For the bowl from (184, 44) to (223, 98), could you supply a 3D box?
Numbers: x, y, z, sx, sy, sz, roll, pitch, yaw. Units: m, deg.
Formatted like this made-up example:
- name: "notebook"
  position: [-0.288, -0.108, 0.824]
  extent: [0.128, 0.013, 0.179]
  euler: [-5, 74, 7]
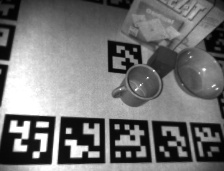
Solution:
- name: "bowl"
  position: [0.255, -0.033, 0.607]
  extent: [0.163, 0.055, 0.161]
  euler: [6, 68, -15]

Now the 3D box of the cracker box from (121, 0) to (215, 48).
- name: "cracker box"
  position: [0.137, -0.193, 0.560]
  extent: [0.164, 0.213, 0.072]
  euler: [32, 61, -2]

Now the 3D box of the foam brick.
- name: "foam brick"
  position: [0.135, -0.072, 0.589]
  extent: [0.053, 0.078, 0.051]
  euler: [19, 63, -7]

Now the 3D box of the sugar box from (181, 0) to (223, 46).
- name: "sugar box"
  position: [0.240, -0.189, 0.609]
  extent: [0.093, 0.176, 0.045]
  euler: [24, 63, -5]

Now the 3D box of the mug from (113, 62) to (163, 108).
- name: "mug"
  position: [0.059, 0.003, 0.523]
  extent: [0.118, 0.081, 0.092]
  euler: [-4, 61, -16]
